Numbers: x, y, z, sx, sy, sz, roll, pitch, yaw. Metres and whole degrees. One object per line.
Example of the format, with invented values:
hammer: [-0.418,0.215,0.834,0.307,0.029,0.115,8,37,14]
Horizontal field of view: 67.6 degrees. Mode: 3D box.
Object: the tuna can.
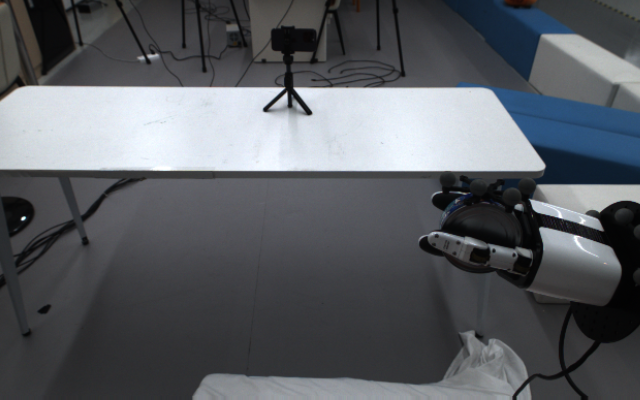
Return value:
tuna can: [0.176,0.033,0.535,0.085,0.085,0.034,9,24,10]
